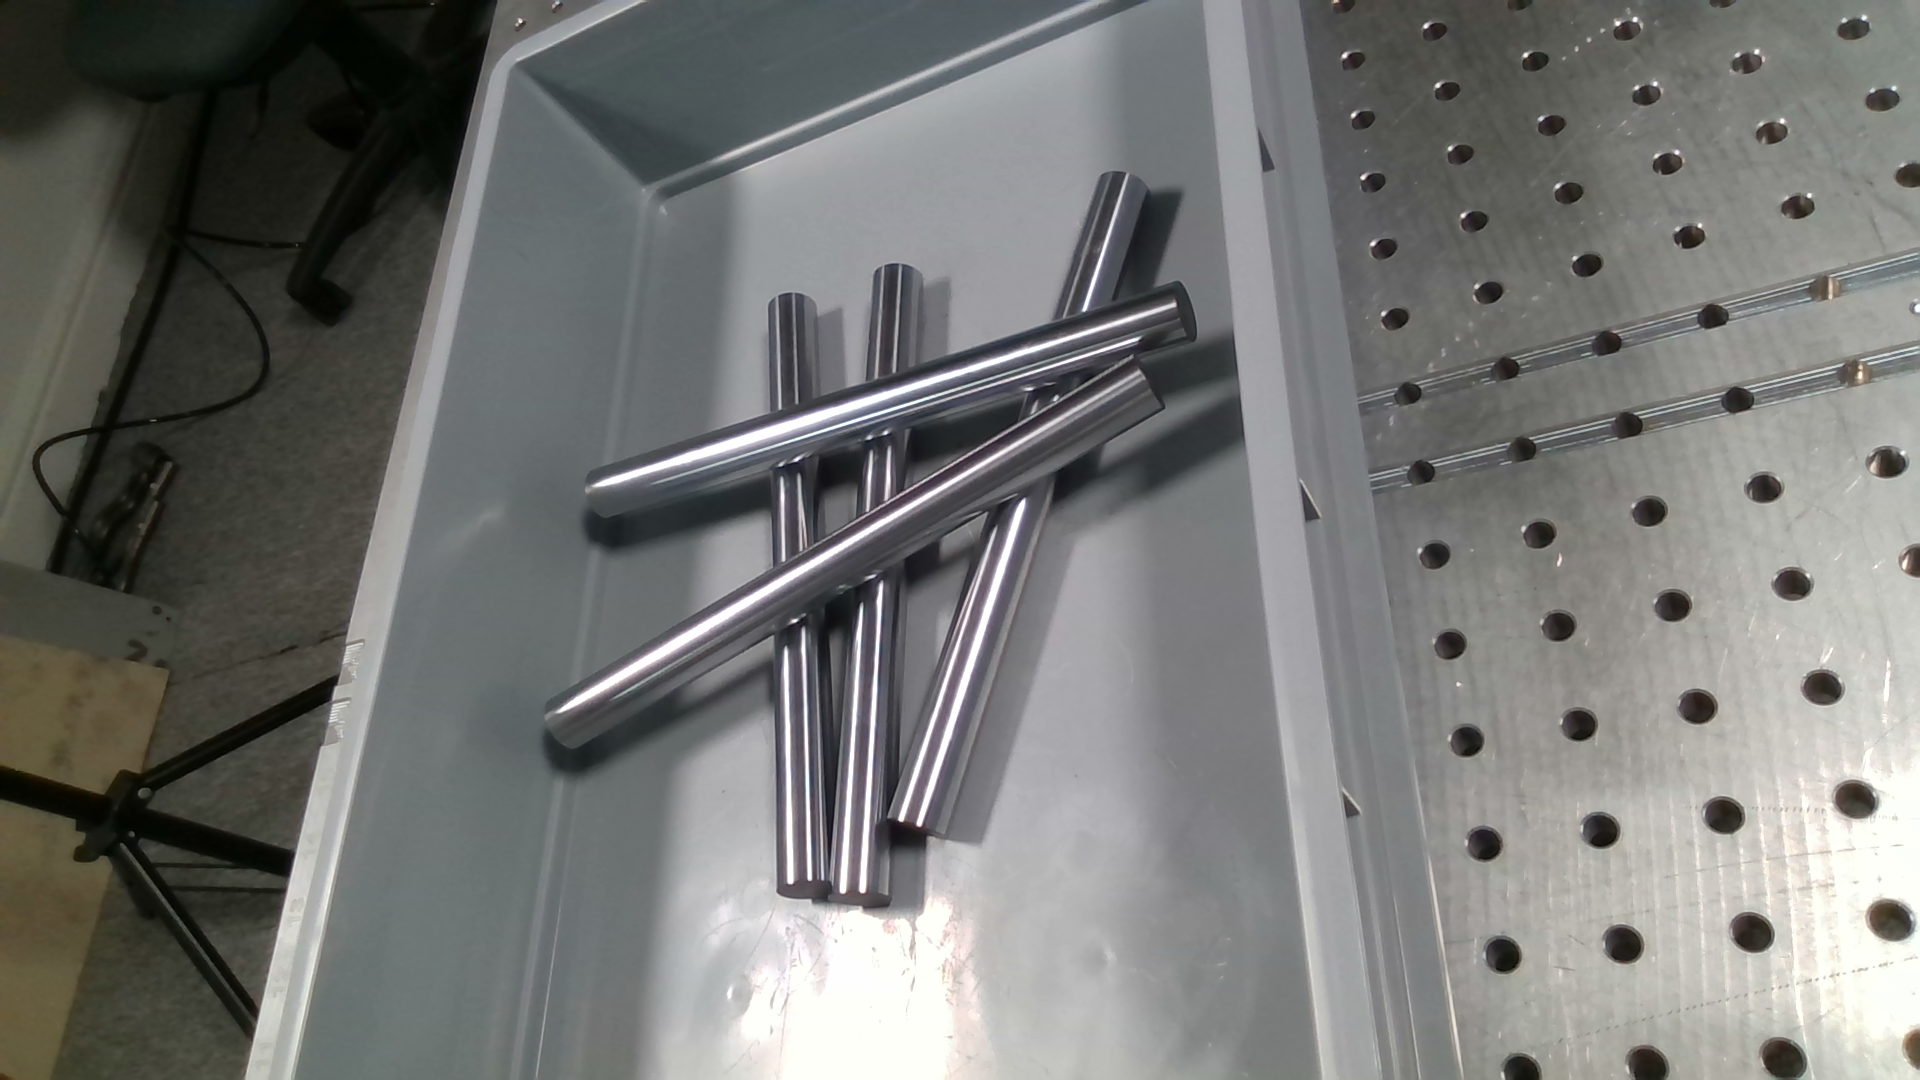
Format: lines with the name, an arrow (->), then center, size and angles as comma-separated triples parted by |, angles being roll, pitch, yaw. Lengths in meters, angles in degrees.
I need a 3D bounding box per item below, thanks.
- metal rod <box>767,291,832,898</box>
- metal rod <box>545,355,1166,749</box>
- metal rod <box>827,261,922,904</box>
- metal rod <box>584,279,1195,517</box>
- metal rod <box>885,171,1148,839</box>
metal rod -> -0.073, 0.010, 0.624 | 0.025, 0.025, 0.299 | -19, 57, 22
metal rod -> -0.051, 0.010, 0.578 | 0.300, 0.025, 0.025 | -30, 53, 15
metal rod -> -0.035, 0.005, 0.602 | 0.025, 0.025, 0.299 | -13, 60, 26
metal rod -> -0.043, -0.057, 0.607 | 0.300, 0.025, 0.025 | -15, 59, 25
metal rod -> 0.028, -0.023, 0.579 | 0.025, 0.025, 0.299 | 7, 69, 34
